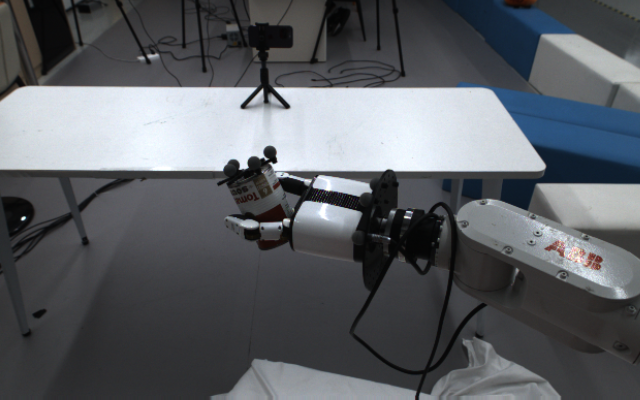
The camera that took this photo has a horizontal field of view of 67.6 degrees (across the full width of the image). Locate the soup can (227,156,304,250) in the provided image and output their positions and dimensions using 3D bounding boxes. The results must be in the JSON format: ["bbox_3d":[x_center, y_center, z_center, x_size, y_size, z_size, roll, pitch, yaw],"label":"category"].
[{"bbox_3d":[-0.075,0.010,0.670,0.067,0.101,0.067,-23,15,7],"label":"soup can"}]
